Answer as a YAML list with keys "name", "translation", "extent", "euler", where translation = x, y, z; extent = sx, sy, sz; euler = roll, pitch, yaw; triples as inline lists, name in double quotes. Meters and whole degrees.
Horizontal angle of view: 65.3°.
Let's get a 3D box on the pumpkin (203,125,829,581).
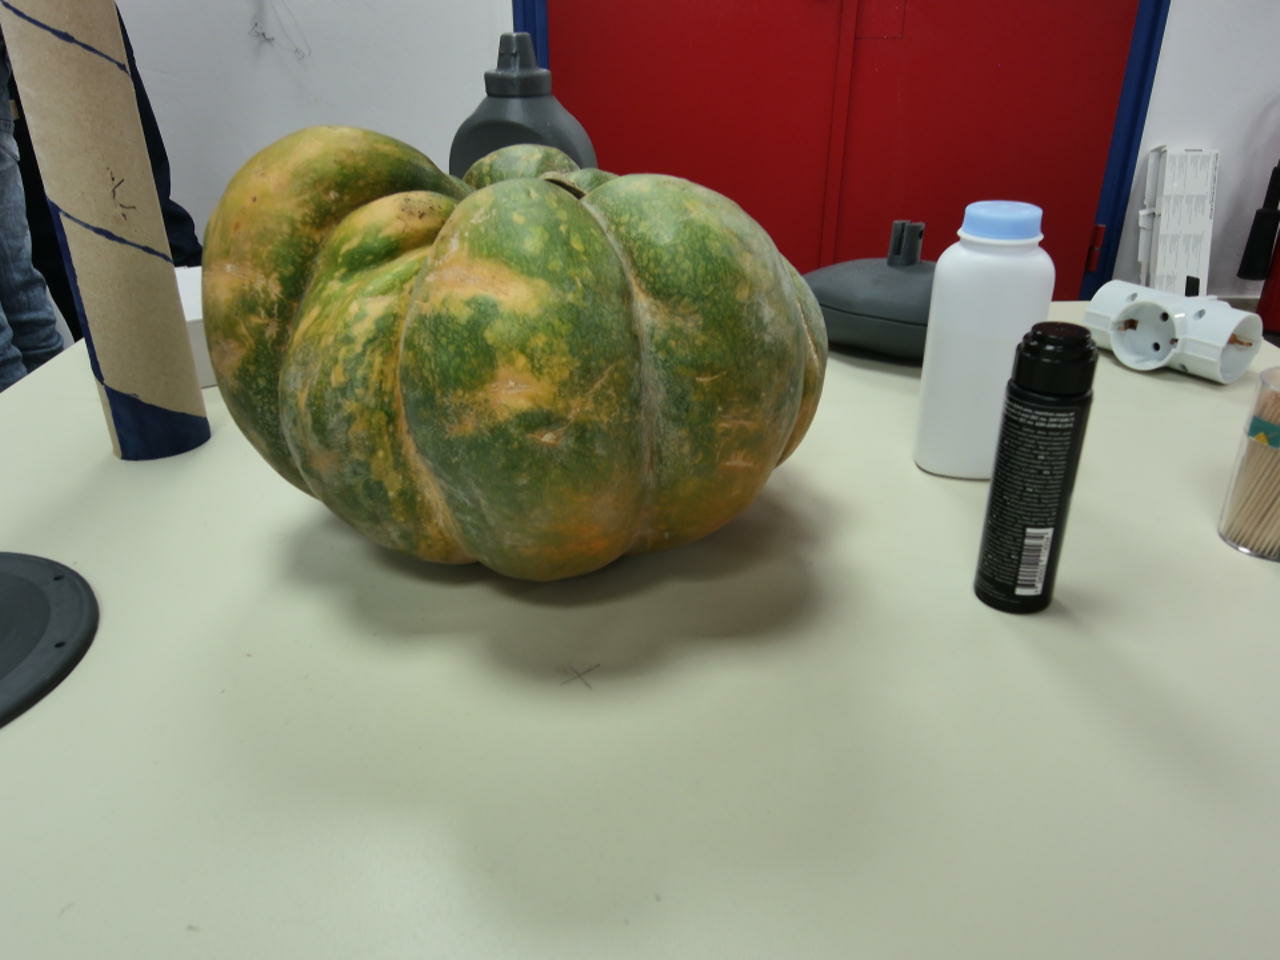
- name: "pumpkin"
  translation: [-0.049, -0.064, 0.433]
  extent: [0.270, 0.173, 0.237]
  euler: [17, 30, 33]
